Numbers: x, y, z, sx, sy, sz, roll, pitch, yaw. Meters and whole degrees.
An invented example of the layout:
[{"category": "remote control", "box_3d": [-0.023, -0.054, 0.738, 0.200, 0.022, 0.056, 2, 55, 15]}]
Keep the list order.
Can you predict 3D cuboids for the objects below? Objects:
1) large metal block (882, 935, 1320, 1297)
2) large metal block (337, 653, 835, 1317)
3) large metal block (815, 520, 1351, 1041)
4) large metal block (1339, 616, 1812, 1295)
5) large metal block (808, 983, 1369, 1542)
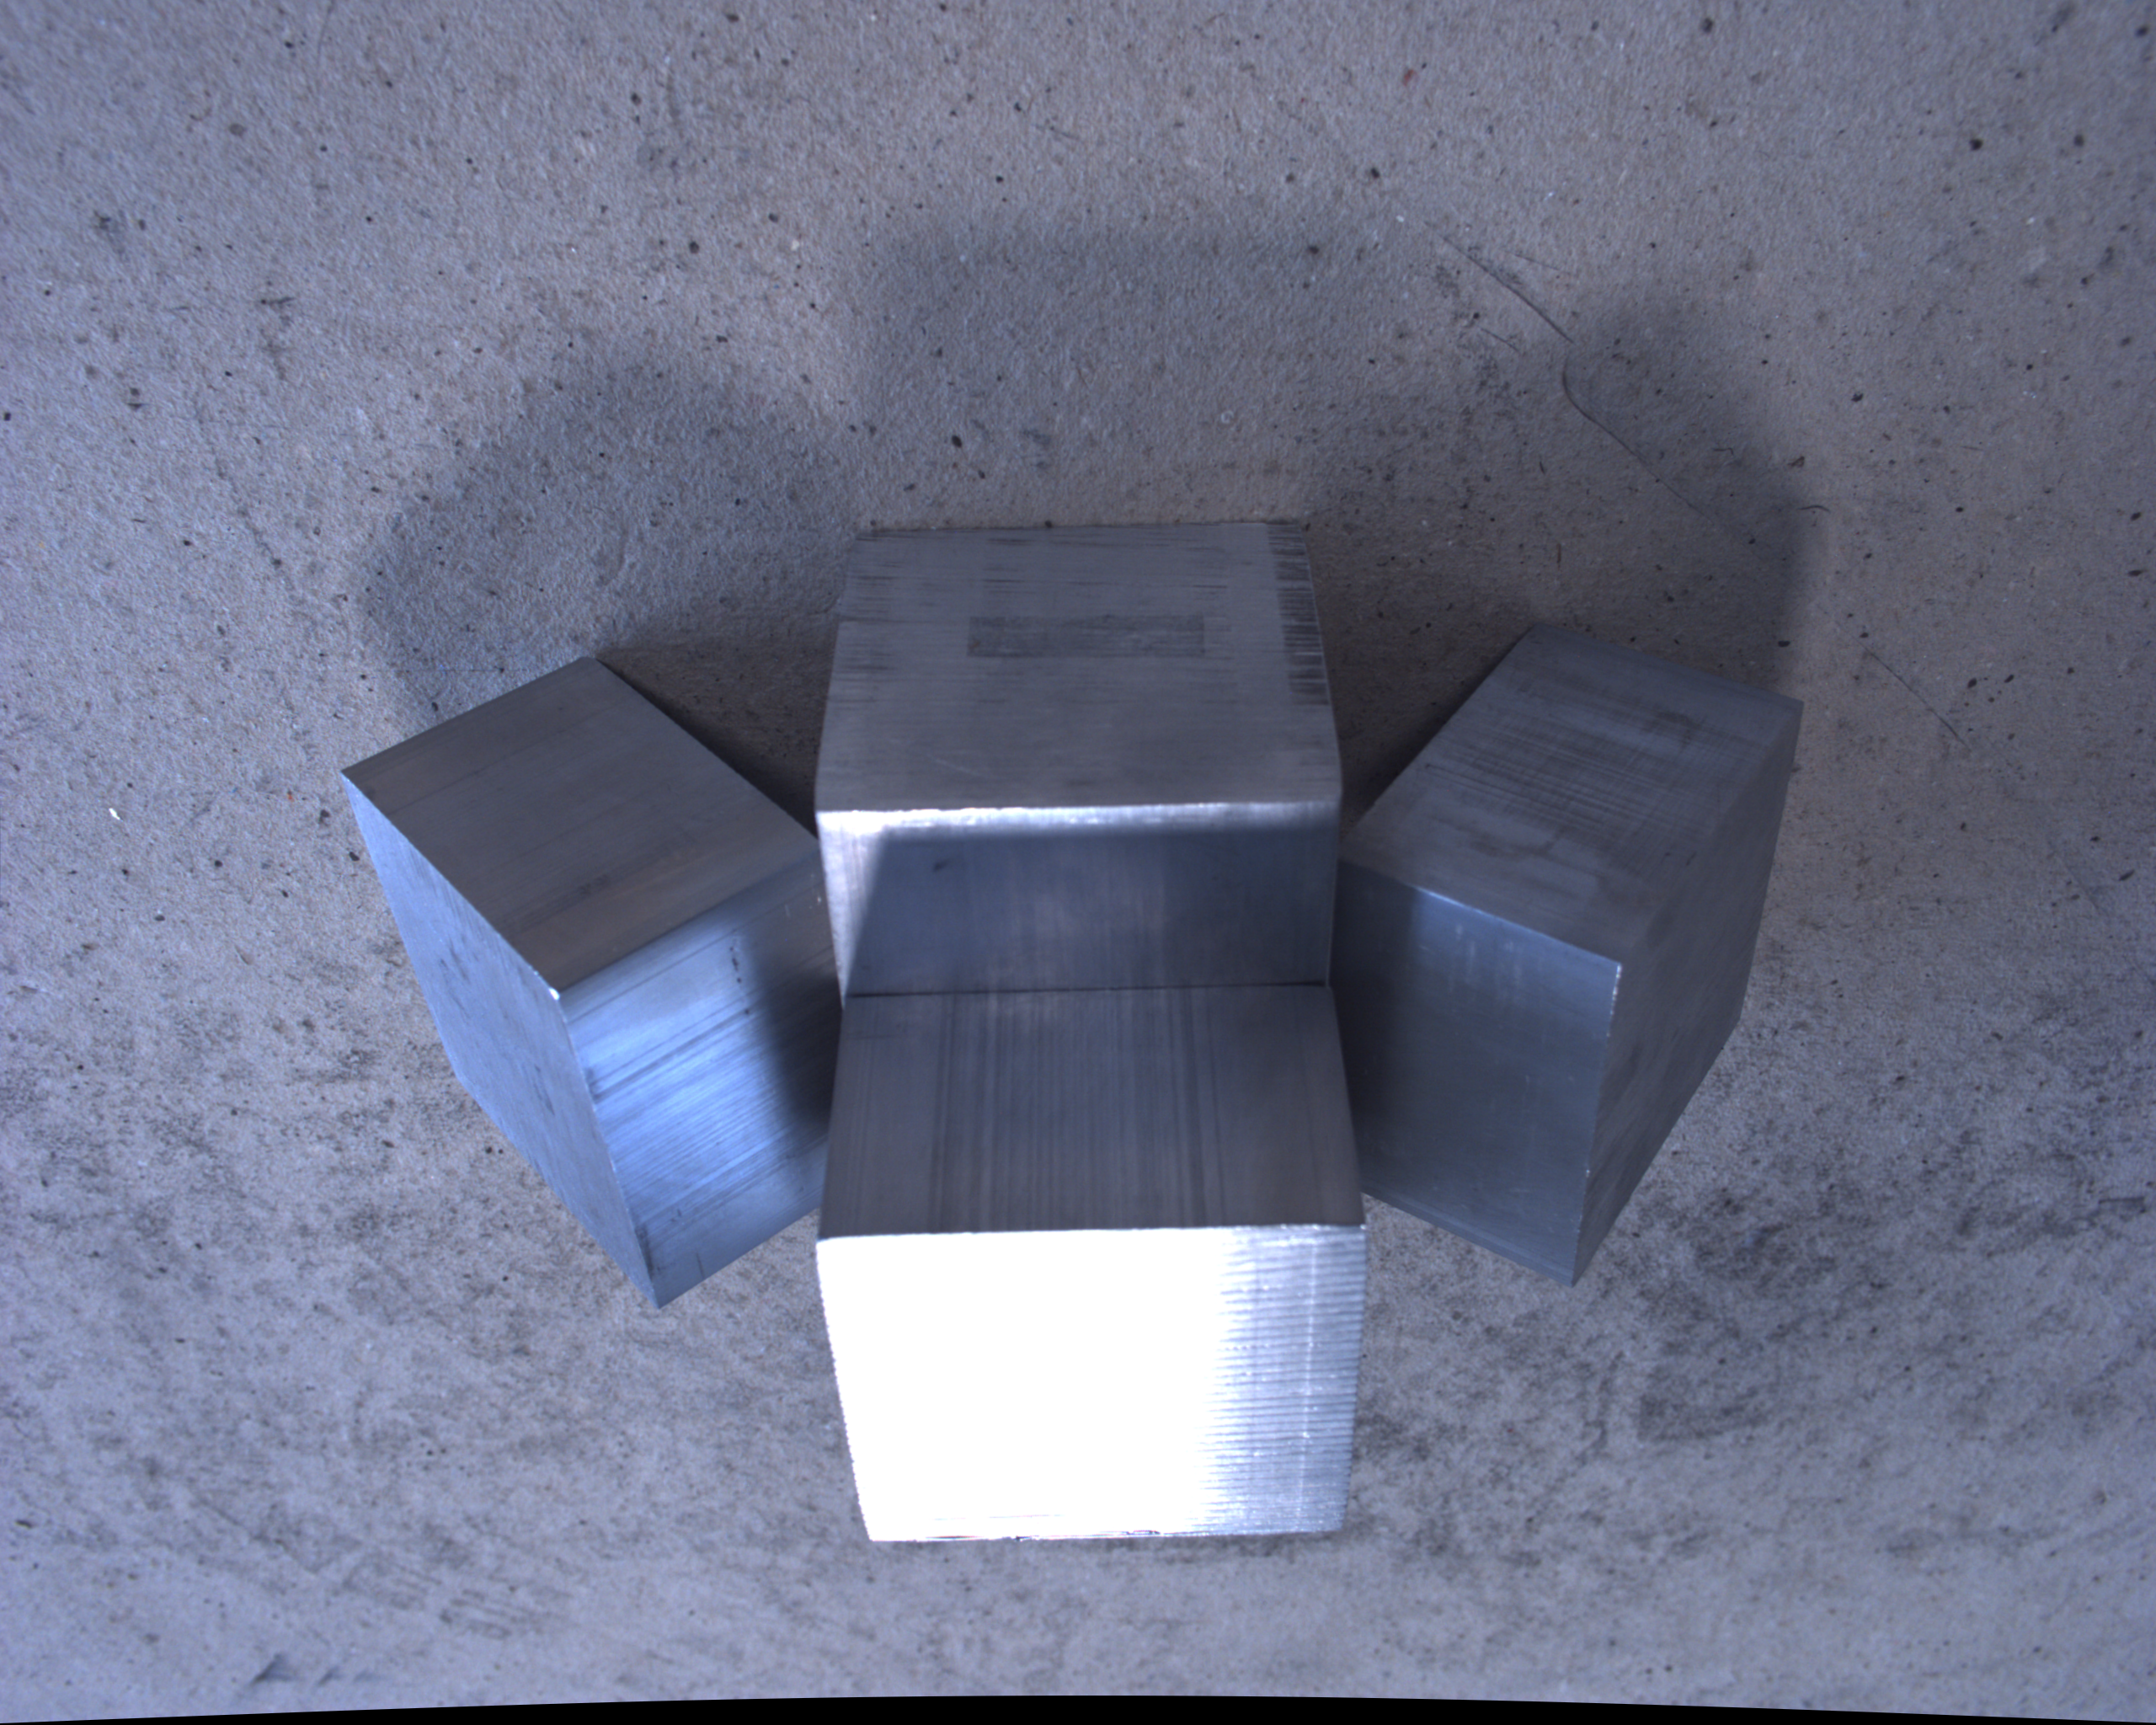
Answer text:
[{"category": "large metal block", "box_3d": [0.005, 0.053, 0.420, 0.080, 0.080, 0.050, -3, 130, 2]}, {"category": "large metal block", "box_3d": [-0.083, 0.021, 0.380, 0.050, 0.080, 0.080, -30, 136, -27]}, {"category": "large metal block", "box_3d": [0.001, -0.015, 0.360, 0.080, 0.080, 0.050, -2, 130, 1]}, {"category": "large metal block", "box_3d": [0.087, 0.015, 0.376, 0.050, 0.080, 0.080, 22, 137, 28]}, {"category": "large metal block", "box_3d": [0.003, 0.067, 0.344, 0.080, 0.050, 0.079, -2, 130, 1]}]
